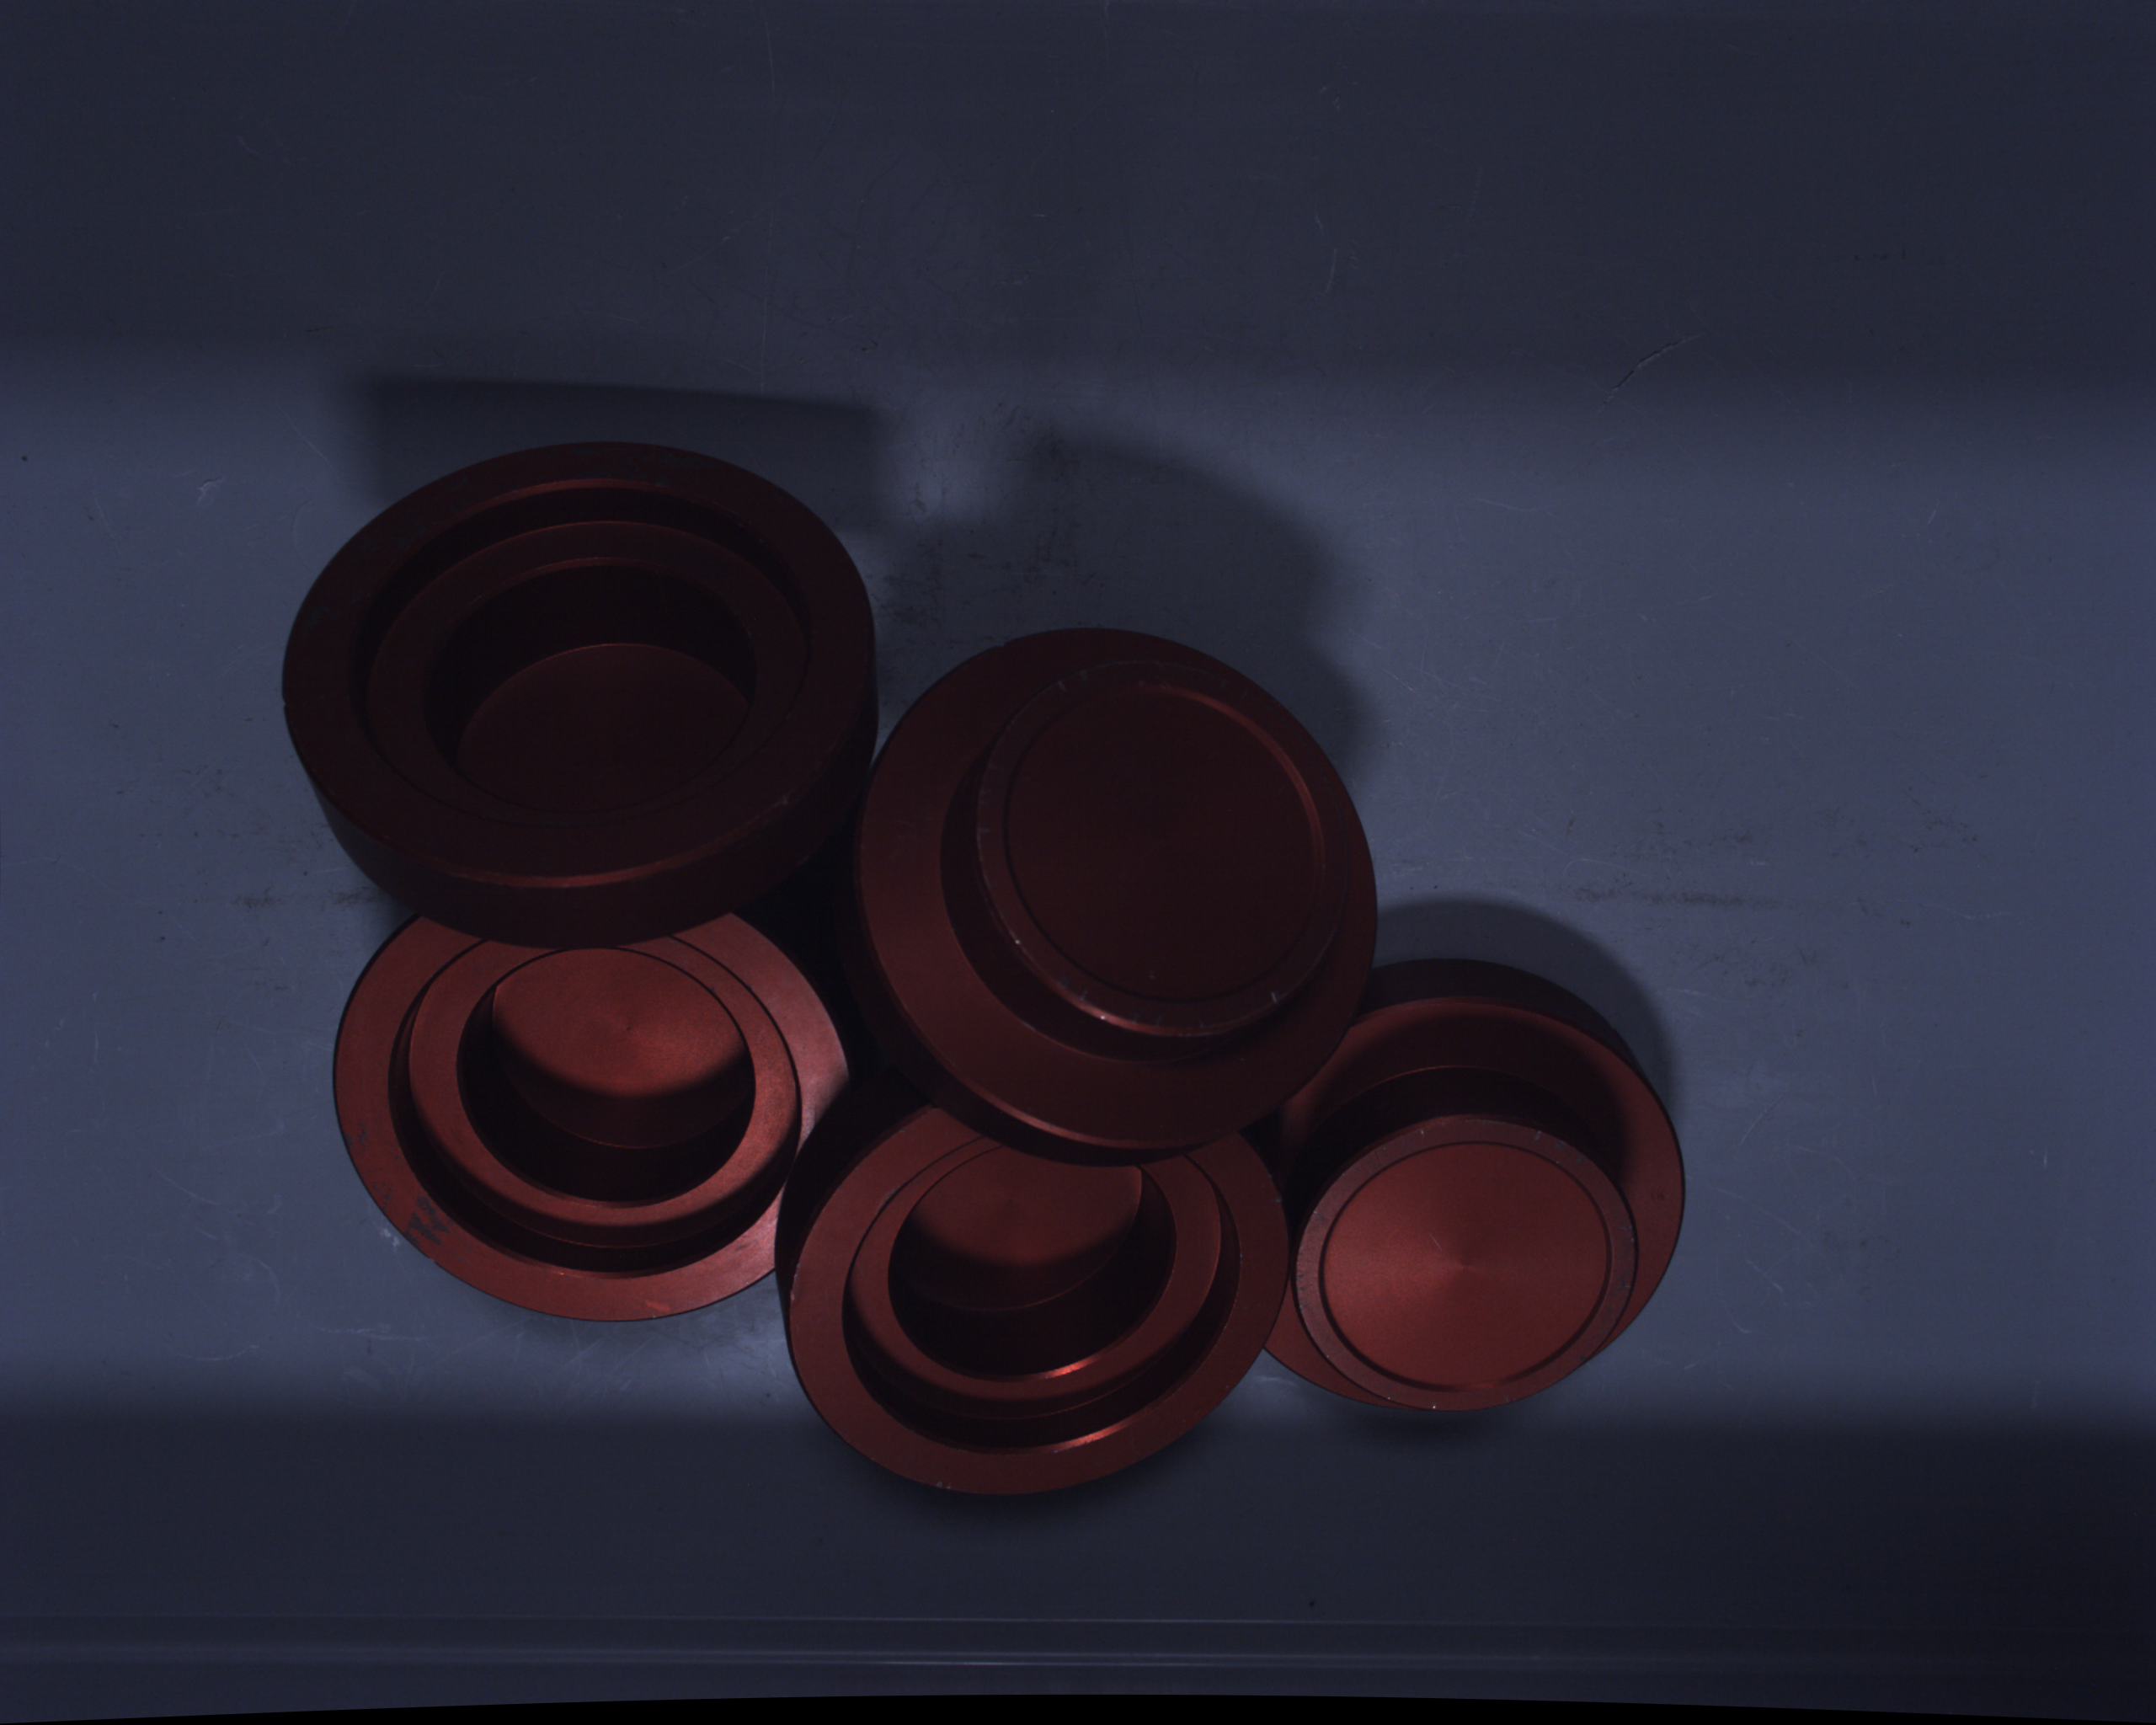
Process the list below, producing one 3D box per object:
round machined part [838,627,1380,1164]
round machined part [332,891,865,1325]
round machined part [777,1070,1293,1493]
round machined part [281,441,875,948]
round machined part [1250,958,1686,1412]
[{"bbox_3d":[0.009,0.002,0.372,0.099,0.042,0.098,6,70,-16],"label":"round machined part"},{"bbox_3d":[-0.091,0.039,0.413,0.099,0.042,0.097,0,110,-1],"label":"round machined part"},{"bbox_3d":[-0.011,0.074,0.415,0.099,0.042,0.097,-6,117,-12],"label":"round machined part"},{"bbox_3d":[-0.085,-0.026,0.371,0.099,0.098,0.042,3,146,-2],"label":"round machined part"},{"bbox_3d":[0.076,0.072,0.428,0.099,0.042,0.097,0,110,-1],"label":"round machined part"}]
